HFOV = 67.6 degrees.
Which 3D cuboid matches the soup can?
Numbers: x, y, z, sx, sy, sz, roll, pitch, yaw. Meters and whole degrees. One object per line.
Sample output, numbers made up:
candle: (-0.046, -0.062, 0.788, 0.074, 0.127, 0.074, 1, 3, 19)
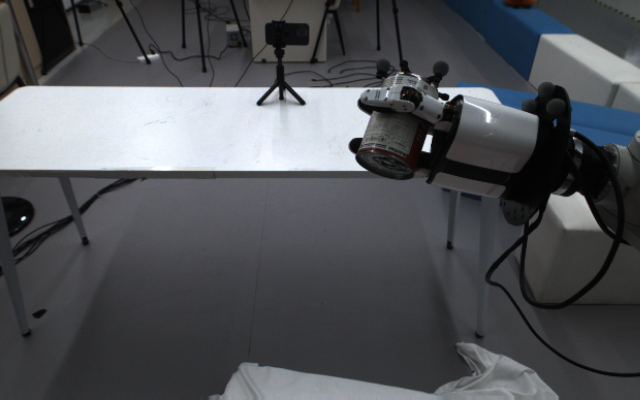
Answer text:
soup can: (0.088, -0.084, 0.546, 0.067, 0.067, 0.101, 16, 75, 19)
